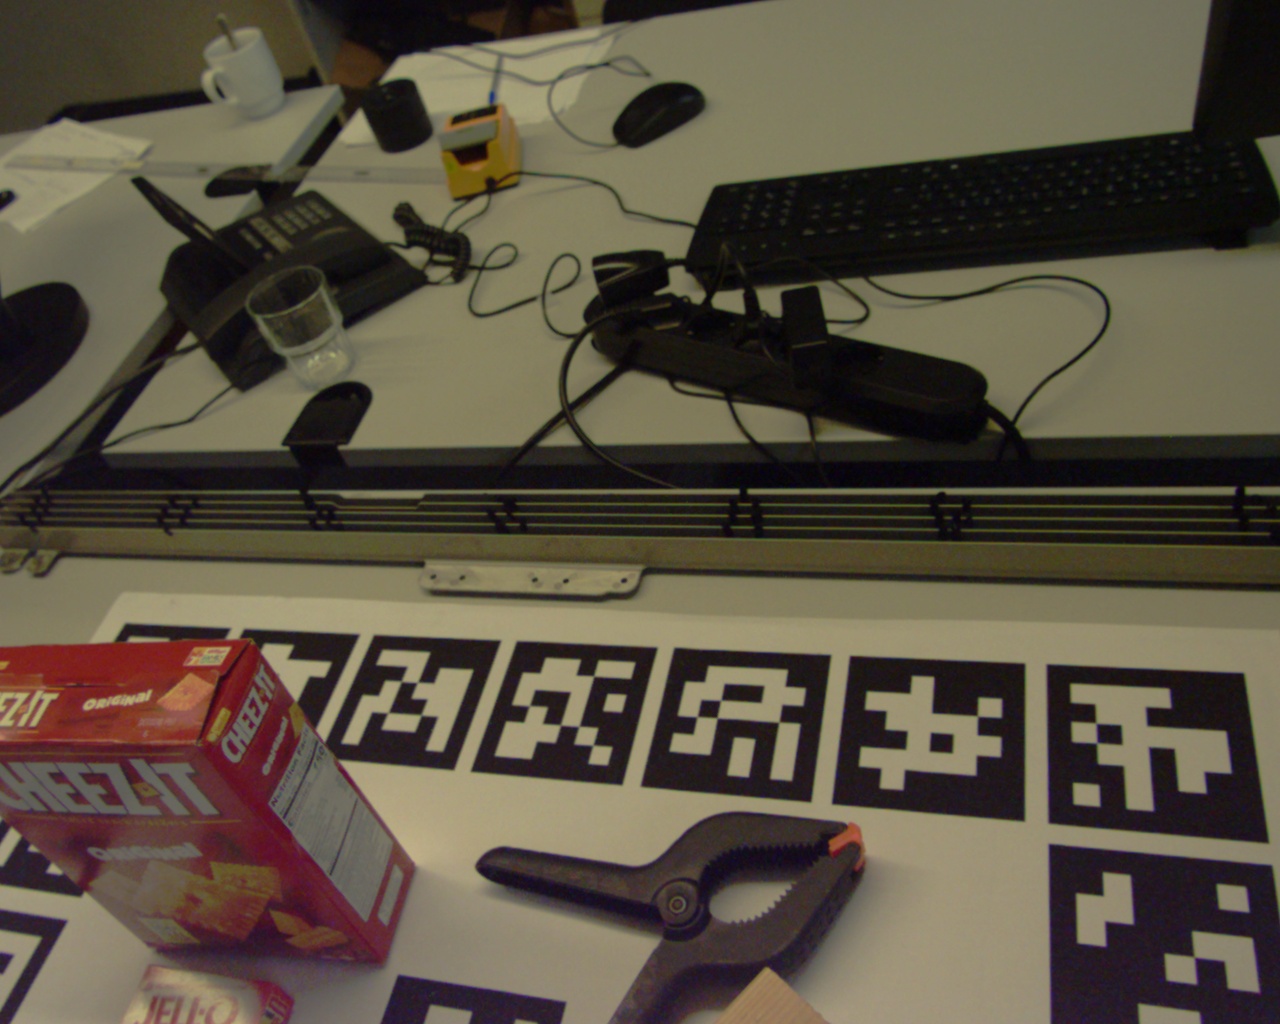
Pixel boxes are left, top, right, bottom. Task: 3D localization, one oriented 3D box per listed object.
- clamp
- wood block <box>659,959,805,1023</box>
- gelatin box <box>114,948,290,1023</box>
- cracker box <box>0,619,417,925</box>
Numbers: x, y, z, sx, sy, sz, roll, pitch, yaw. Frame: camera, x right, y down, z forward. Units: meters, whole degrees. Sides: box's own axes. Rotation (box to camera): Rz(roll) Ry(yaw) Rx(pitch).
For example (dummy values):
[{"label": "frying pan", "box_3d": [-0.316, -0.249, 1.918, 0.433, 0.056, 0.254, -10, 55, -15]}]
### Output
[{"label": "clamp", "box_3d": [0.007, 0.212, 0.616, 0.203, 0.036, 0.167, -23, 45, 0]}, {"label": "wood block", "box_3d": [0.003, 0.310, 0.493, 0.205, 0.090, 0.091, -38, 44, -19]}, {"label": "gelatin box", "box_3d": [-0.255, 0.291, 0.648, 0.090, 0.030, 0.073, -1, 50, 20]}, {"label": "cracker box", "box_3d": [-0.243, 0.151, 0.636, 0.165, 0.212, 0.072, -1, 47, 17]}]
